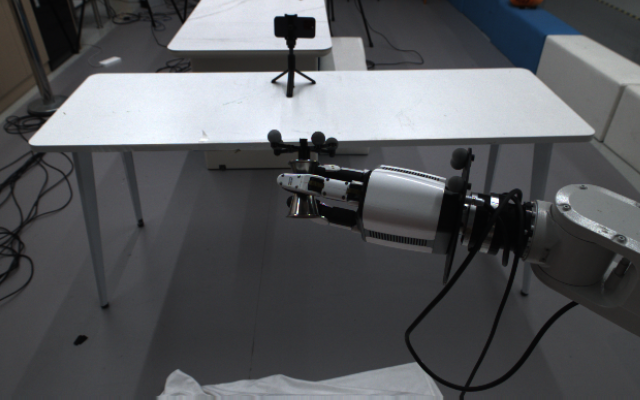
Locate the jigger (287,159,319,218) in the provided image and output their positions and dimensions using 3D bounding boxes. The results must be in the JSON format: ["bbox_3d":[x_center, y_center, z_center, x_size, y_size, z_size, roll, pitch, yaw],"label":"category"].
[{"bbox_3d":[-0.021,-0.013,0.592,0.043,0.071,0.043,1,-5,0],"label":"jigger"}]
